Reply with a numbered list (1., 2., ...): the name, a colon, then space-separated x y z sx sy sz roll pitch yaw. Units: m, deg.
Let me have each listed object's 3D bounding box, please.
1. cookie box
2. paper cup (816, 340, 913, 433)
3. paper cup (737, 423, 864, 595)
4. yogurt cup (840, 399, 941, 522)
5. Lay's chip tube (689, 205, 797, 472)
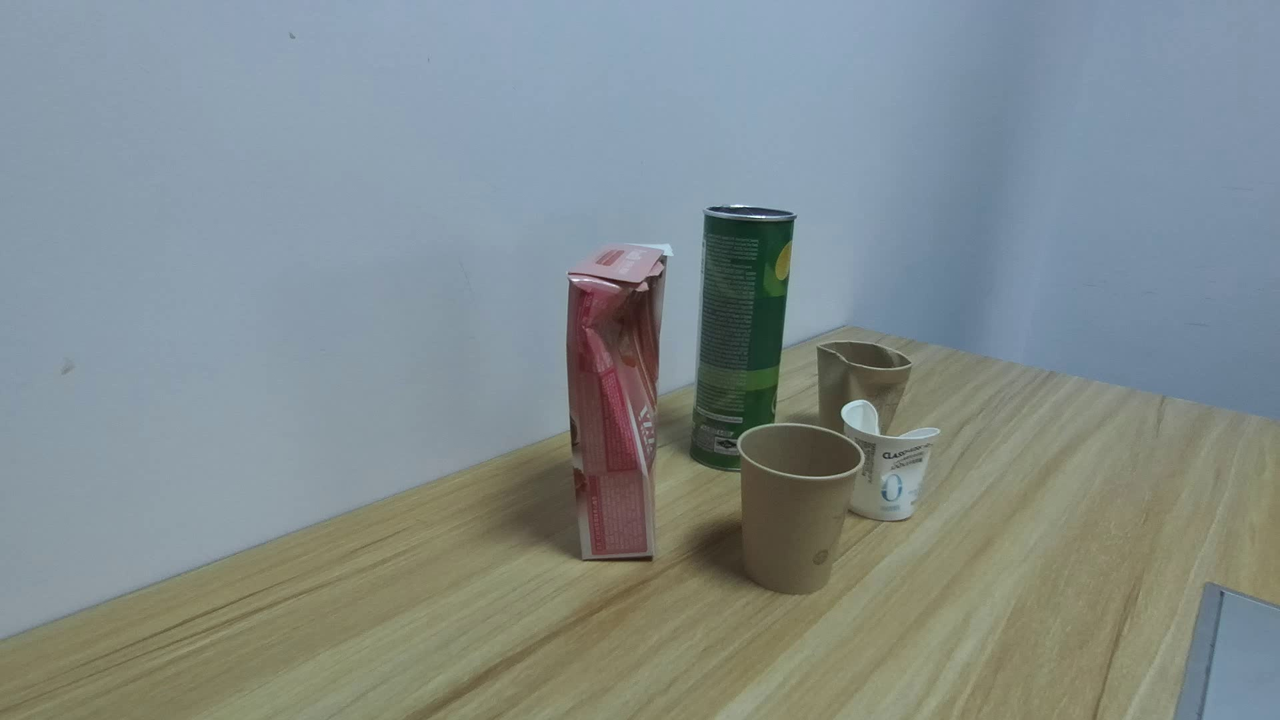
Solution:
1. cookie box: -0.011 0.026 0.450 0.055 0.184 0.118 4 19 4
2. paper cup: 0.189 0.033 0.611 0.066 0.084 0.071 -3 19 -17
3. paper cup: 0.092 0.090 0.425 0.075 0.082 0.075 2 18 0
4. yogurt cup: 0.172 0.074 0.506 0.067 0.070 0.067 4 20 -1
5. Lay's chip tube: 0.079 -0.017 0.558 0.071 0.202 0.071 3 18 -1
